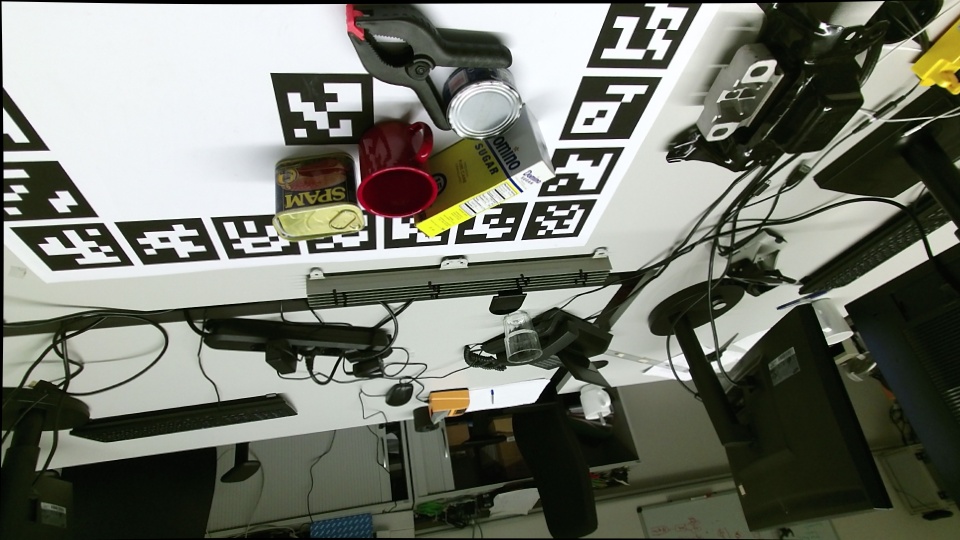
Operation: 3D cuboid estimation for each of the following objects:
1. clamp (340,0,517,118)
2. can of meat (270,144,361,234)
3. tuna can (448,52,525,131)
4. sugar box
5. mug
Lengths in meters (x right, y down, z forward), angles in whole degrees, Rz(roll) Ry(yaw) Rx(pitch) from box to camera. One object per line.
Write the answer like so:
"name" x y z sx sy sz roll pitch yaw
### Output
"clamp" -0.060 -0.225 0.523 0.166 0.036 0.122 23 138 -37
"can of meat" -0.195 -0.097 0.632 0.102 0.083 0.058 -8 149 -4
"tuna can" 0.009 -0.196 0.582 0.086 0.033 0.086 -9 146 -6
"sugar box" -0.001 -0.128 0.641 0.177 0.092 0.045 -25 148 21
"mug" -0.089 -0.127 0.608 0.094 0.081 0.117 12 139 -32
